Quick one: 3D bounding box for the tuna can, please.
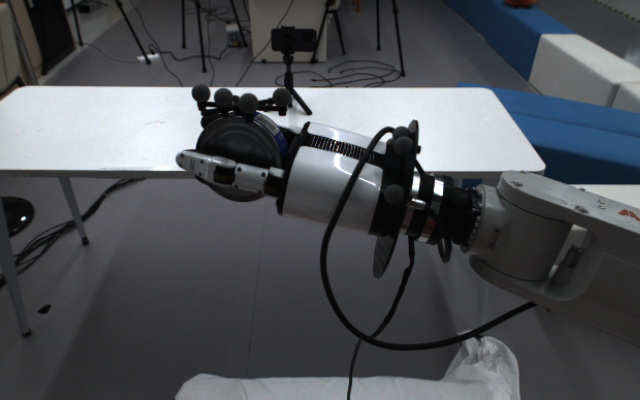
[{"bbox_3d":[-0.073,-0.045,0.475,0.085,0.085,0.034,9,23,10],"label":"tuna can"}]
